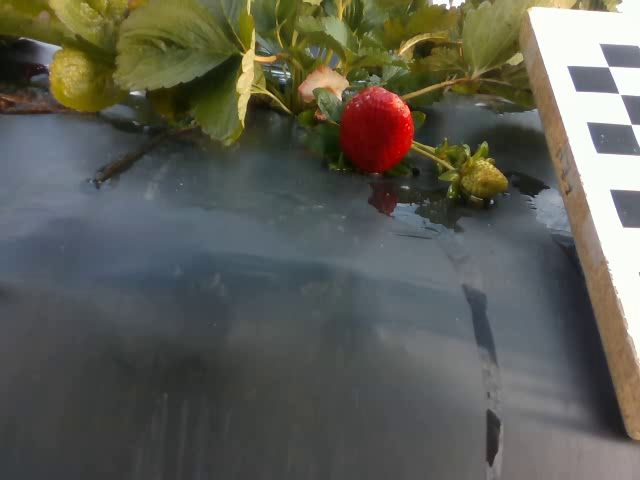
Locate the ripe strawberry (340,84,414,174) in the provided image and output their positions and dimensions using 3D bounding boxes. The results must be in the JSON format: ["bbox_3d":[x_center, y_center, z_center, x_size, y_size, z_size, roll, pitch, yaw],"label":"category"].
[{"bbox_3d":[0.036,-0.064,0.318,0.043,0.052,0.057,-21,-5,-11],"label":"ripe strawberry"}]
